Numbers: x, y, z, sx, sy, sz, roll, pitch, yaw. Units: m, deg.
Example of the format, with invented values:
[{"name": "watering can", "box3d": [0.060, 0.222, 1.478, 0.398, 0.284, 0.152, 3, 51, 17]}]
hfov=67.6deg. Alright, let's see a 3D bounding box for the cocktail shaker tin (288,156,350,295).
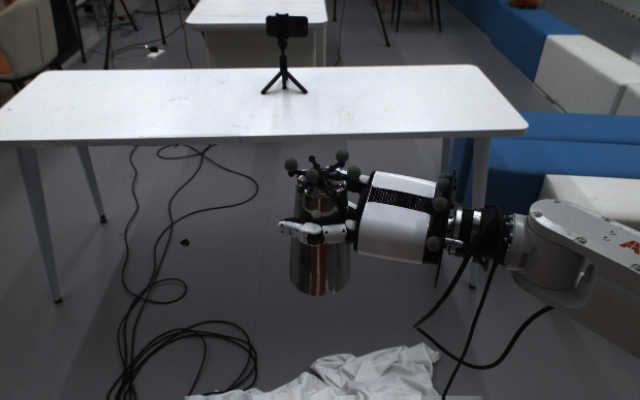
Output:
[{"name": "cocktail shaker tin", "box3d": [0.005, 0.039, 0.673, 0.093, 0.170, 0.093, 1, 39, -1]}]
